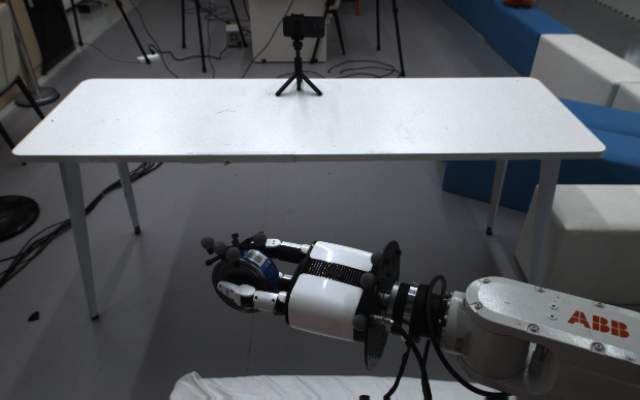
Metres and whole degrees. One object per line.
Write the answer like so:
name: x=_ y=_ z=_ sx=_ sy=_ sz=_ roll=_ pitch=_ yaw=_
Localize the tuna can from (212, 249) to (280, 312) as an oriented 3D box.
tuna can: x=-0.095 y=0.110 z=0.638 sx=0.085 sy=0.085 sz=0.034 roll=13 pitch=28 yaw=15
